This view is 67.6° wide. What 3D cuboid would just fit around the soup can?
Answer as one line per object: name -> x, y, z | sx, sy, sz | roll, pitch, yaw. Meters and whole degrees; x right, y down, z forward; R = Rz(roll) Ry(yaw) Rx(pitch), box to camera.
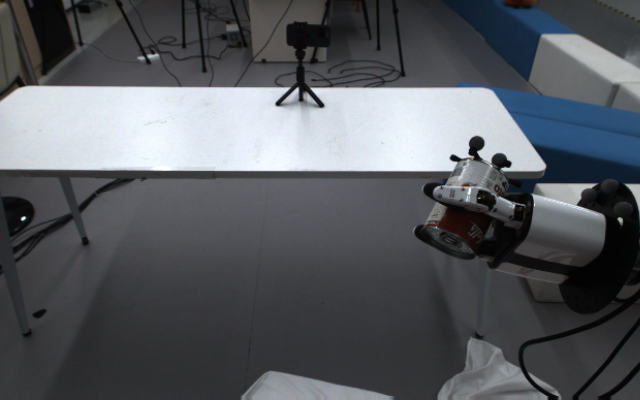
soup can -> 0.173, 0.009, 0.569 | 0.067, 0.067, 0.101 | 22, 71, 26
